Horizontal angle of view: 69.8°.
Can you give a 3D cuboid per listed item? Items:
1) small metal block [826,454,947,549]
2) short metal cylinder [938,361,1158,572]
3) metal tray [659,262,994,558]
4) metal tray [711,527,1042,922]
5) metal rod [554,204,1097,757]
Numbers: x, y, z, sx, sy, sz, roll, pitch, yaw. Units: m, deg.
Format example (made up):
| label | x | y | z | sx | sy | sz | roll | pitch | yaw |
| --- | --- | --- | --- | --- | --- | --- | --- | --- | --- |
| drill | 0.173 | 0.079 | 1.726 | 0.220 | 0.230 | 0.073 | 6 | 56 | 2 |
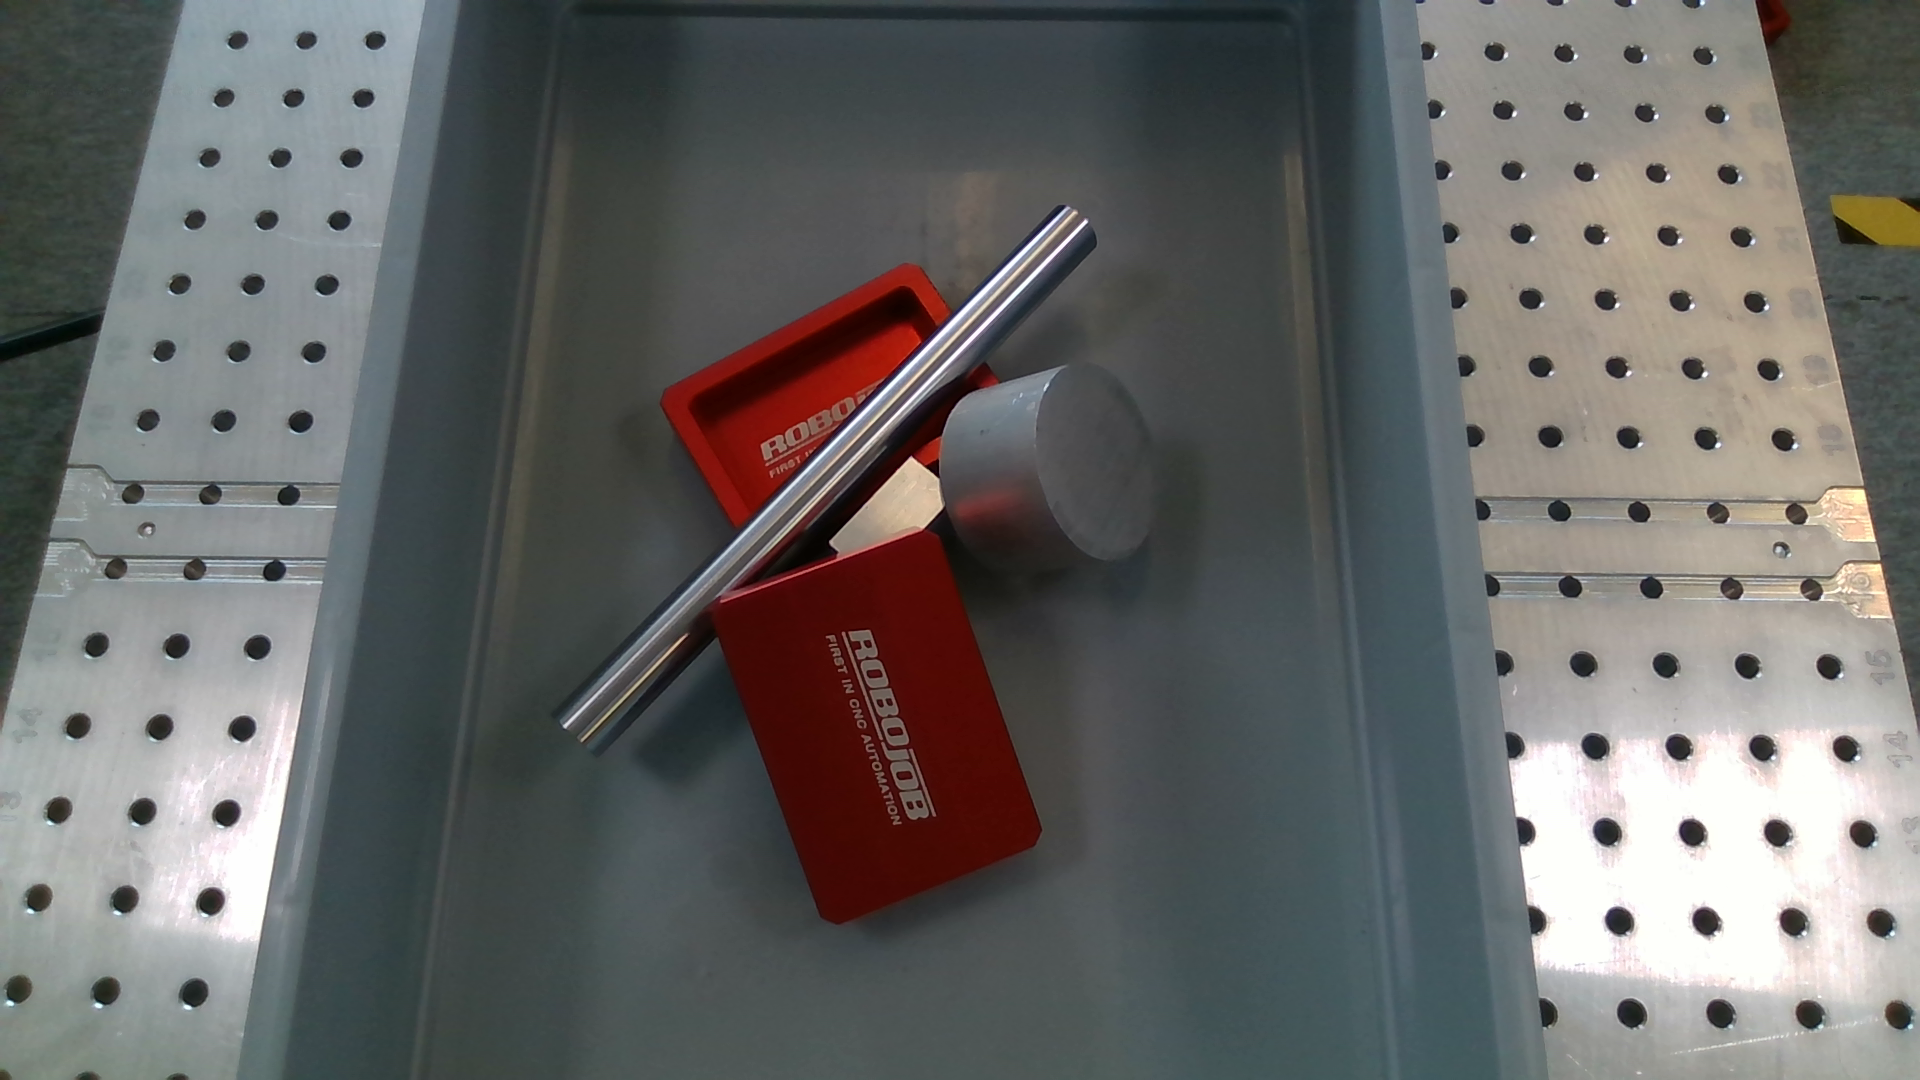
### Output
| label | x | y | z | sx | sy | sz | roll | pitch | yaw |
| --- | --- | --- | --- | --- | --- | --- | --- | --- | --- |
| small metal block | -0.027 | -0.001 | 0.573 | 0.025 | 0.050 | 0.050 | 39 | 75 | 13 |
| short metal cylinder | 0.037 | -0.028 | 0.561 | 0.050 | 0.080 | 0.080 | -10 | 63 | 42 |
| metal tray | -0.053 | -0.054 | 0.603 | 0.130 | 0.030 | 0.090 | -30 | 73 | -10 |
| metal tray | -0.032 | 0.069 | 0.533 | 0.090 | 0.030 | 0.130 | -20 | 96 | -7 |
| metal rod | -0.049 | -0.031 | 0.566 | 0.025 | 0.025 | 0.300 | 40 | 75 | 13 |
